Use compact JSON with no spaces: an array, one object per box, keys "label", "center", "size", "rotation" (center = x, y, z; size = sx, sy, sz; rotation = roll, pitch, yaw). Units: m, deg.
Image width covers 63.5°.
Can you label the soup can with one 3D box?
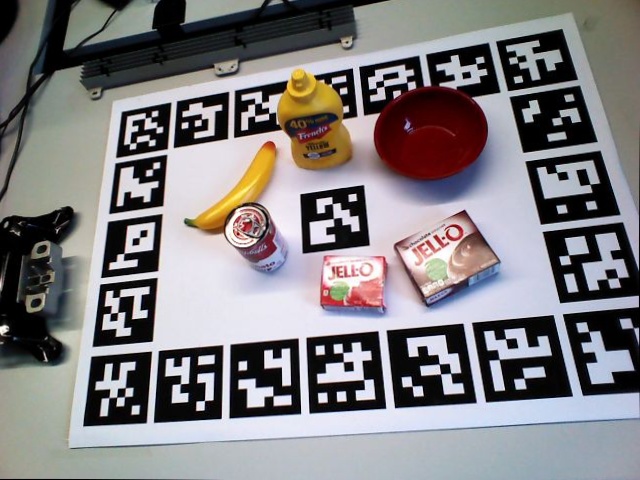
[{"label":"soup can","center":[-0.098,-0.003,0.733],"size":[0.068,0.102,0.067],"rotation":[-5,64,9]}]

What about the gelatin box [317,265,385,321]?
[{"label":"gelatin box","center":[0.044,0.073,0.716],"size":[0.090,0.030,0.073],"rotation":[0,70,14]}]

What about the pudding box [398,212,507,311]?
[{"label":"pudding box","center":[0.175,0.029,0.698],"size":[0.114,0.038,0.090],"rotation":[-29,69,1]}]

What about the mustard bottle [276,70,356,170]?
[{"label":"mustard bottle","center":[-0.009,-0.174,0.732],"size":[0.096,0.192,0.058],"rotation":[-6,63,10]}]

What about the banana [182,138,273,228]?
[{"label":"banana","center":[-0.134,-0.085,0.822],"size":[0.074,0.039,0.197],"rotation":[34,78,34]}]

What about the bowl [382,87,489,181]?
[{"label":"bowl","center":[0.175,-0.145,0.767],"size":[0.162,0.055,0.161],"rotation":[-6,65,13]}]
